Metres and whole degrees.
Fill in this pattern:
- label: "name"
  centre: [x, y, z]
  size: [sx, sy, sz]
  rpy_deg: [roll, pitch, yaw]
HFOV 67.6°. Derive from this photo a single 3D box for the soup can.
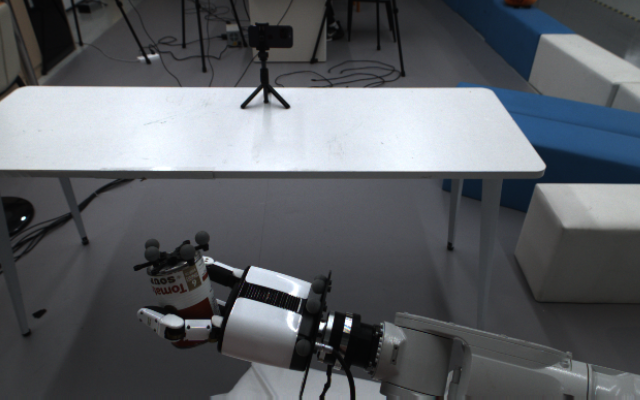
- label: "soup can"
  centre: [-0.161, 0.120, 0.591]
  size: [0.067, 0.101, 0.067]
  rpy_deg: [-12, 17, 4]
